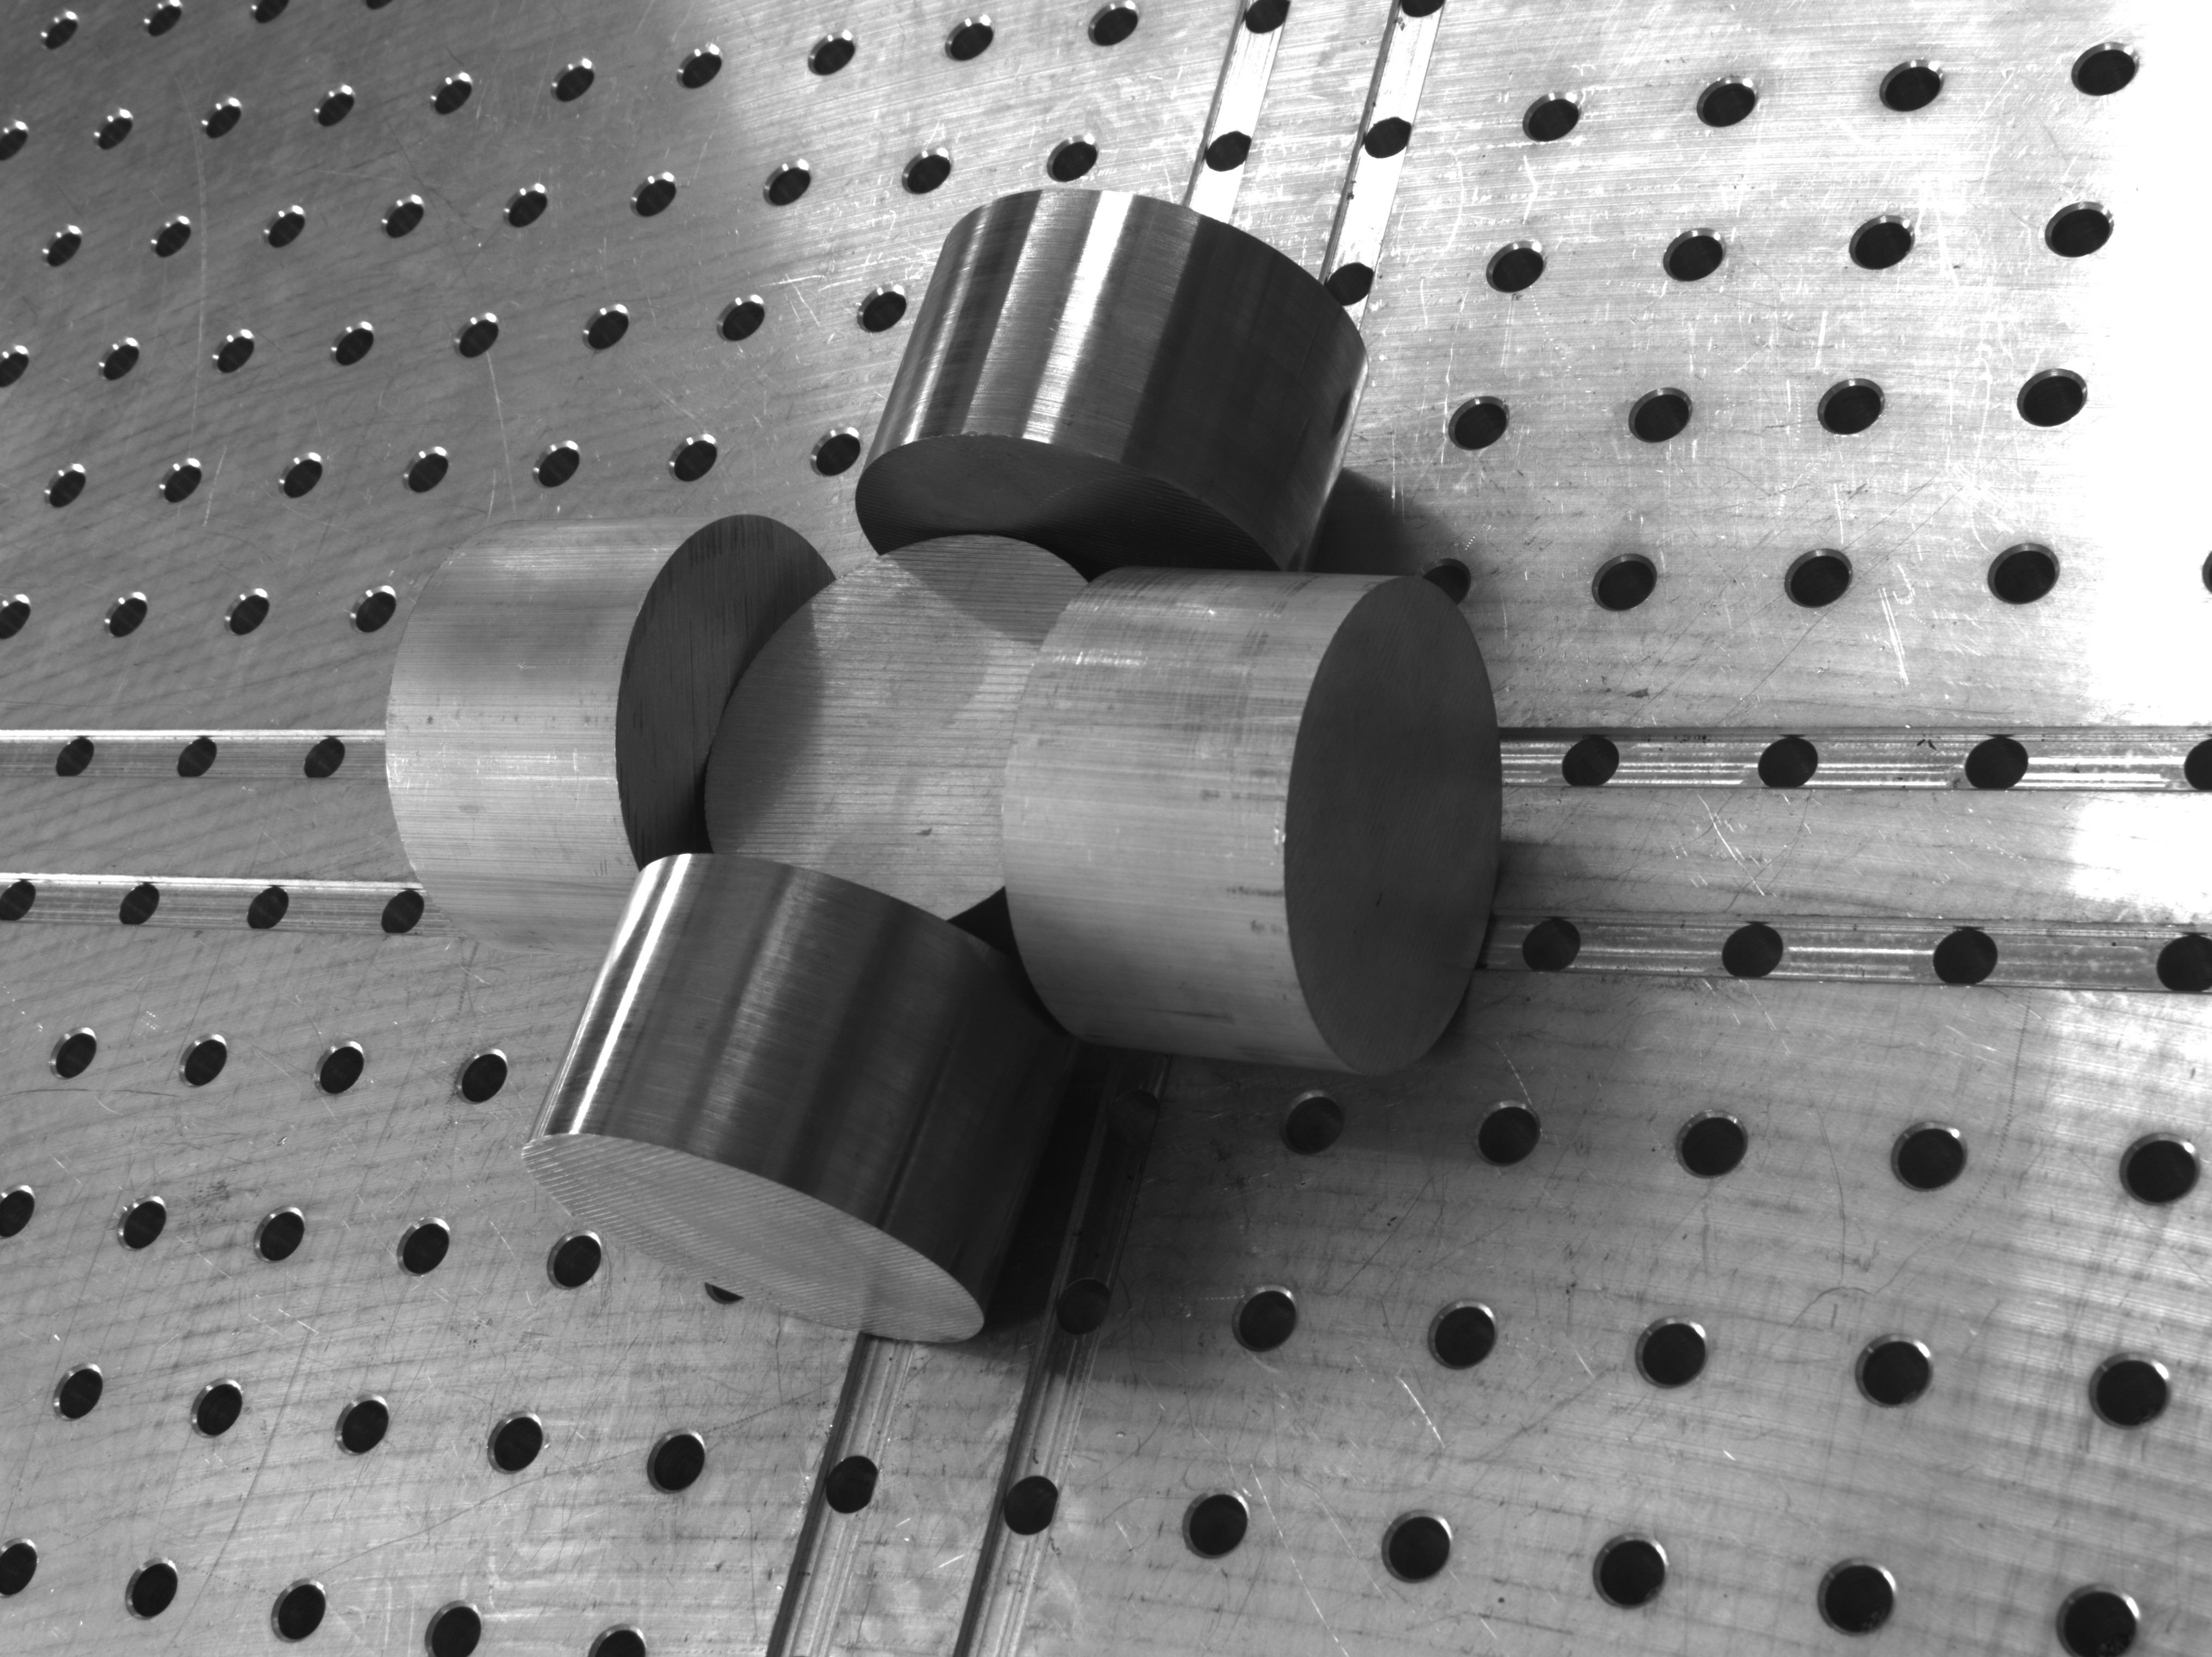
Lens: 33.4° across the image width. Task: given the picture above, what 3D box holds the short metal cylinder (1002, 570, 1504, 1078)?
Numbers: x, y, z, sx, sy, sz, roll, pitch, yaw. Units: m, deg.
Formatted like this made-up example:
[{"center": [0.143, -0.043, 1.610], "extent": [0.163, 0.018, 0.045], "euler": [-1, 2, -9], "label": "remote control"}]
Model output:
[{"center": [0.026, -0.002, 0.601], "extent": [0.050, 0.080, 0.080], "euler": [4, 63, 30], "label": "short metal cylinder"}]

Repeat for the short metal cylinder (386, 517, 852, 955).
[{"center": [-0.085, -0.016, 0.669], "extent": [0.050, 0.080, 0.080], "euler": [2, 62, 29], "label": "short metal cylinder"}]

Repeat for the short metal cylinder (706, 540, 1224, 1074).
[{"center": [-0.023, -0.003, 0.648], "extent": [0.080, 0.050, 0.080], "euler": [-13, 56, 20], "label": "short metal cylinder"}]

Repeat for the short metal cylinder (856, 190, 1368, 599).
[{"center": [0.001, -0.068, 0.654], "extent": [0.080, 0.080, 0.050], "euler": [3, 63, 30], "label": "short metal cylinder"}]

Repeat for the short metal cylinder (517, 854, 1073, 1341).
[{"center": [-0.051, 0.046, 0.611], "extent": [0.080, 0.080, 0.050], "euler": [6, 64, 31], "label": "short metal cylinder"}]
